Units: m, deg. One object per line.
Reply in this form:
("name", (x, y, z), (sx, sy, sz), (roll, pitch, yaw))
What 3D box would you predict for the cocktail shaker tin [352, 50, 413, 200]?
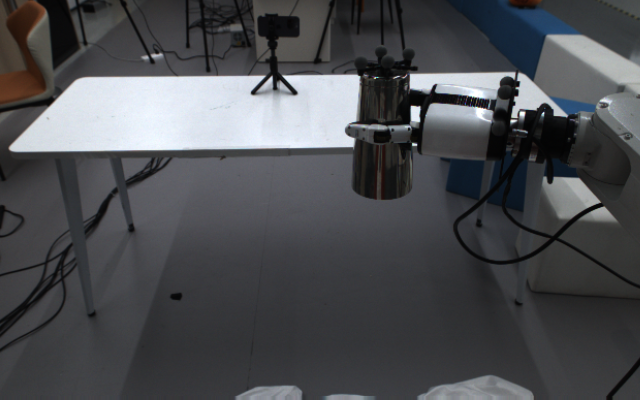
("cocktail shaker tin", (0.092, -0.098, 0.688), (0.093, 0.170, 0.093), (-2, 29, 1))
